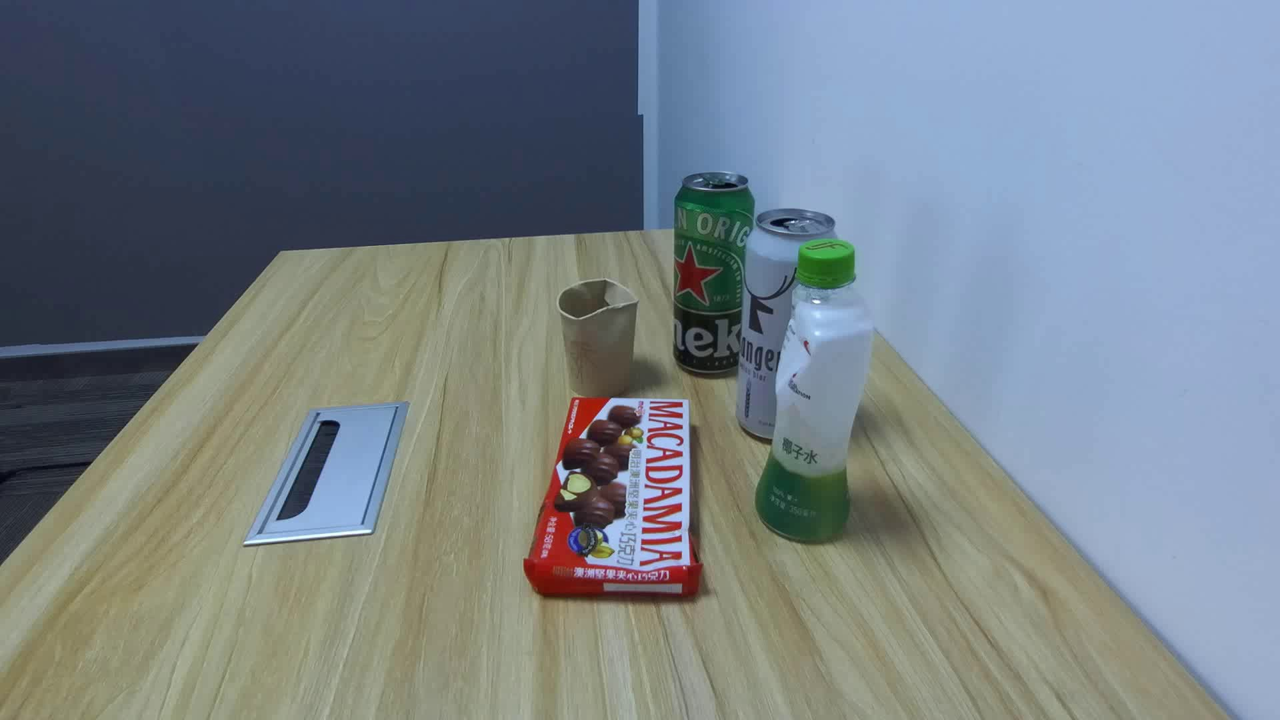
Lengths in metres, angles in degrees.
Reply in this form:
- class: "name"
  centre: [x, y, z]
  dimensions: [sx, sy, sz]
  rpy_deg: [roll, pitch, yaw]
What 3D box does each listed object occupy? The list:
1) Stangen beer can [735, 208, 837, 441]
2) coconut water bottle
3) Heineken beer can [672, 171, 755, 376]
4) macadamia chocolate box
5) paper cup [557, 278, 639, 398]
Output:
- class: "Stangen beer can"
  centre: [0.111, -0.025, 0.536]
  dimensions: [0.067, 0.171, 0.067]
  rpy_deg: [0, 32, 0]
- class: "coconut water bottle"
  centre: [0.107, 0.020, 0.429]
  dimensions: [0.069, 0.187, 0.069]
  rpy_deg: [-1, 30, 1]
- class: "Heineken beer can"
  centre: [0.064, -0.070, 0.613]
  dimensions: [0.067, 0.169, 0.067]
  rpy_deg: [0, 26, 1]
- class: "macadamia chocolate box"
  centre: [-0.012, 0.086, 0.486]
  dimensions: [0.106, 0.028, 0.183]
  rpy_deg: [0, 31, 3]
- class: "paper cup"
  centre: [-0.038, -0.016, 0.607]
  dimensions: [0.072, 0.084, 0.066]
  rpy_deg: [-13, 30, -24]
